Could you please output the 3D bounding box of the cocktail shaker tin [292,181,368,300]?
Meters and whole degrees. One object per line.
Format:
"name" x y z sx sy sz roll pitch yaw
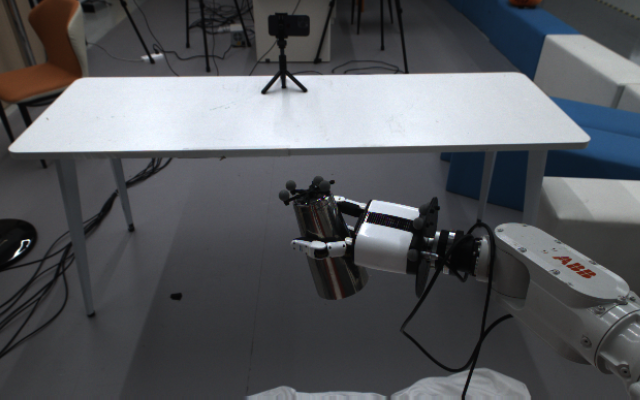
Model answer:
"cocktail shaker tin" 0.012 0.069 0.802 0.093 0.170 0.093 -17 20 7
